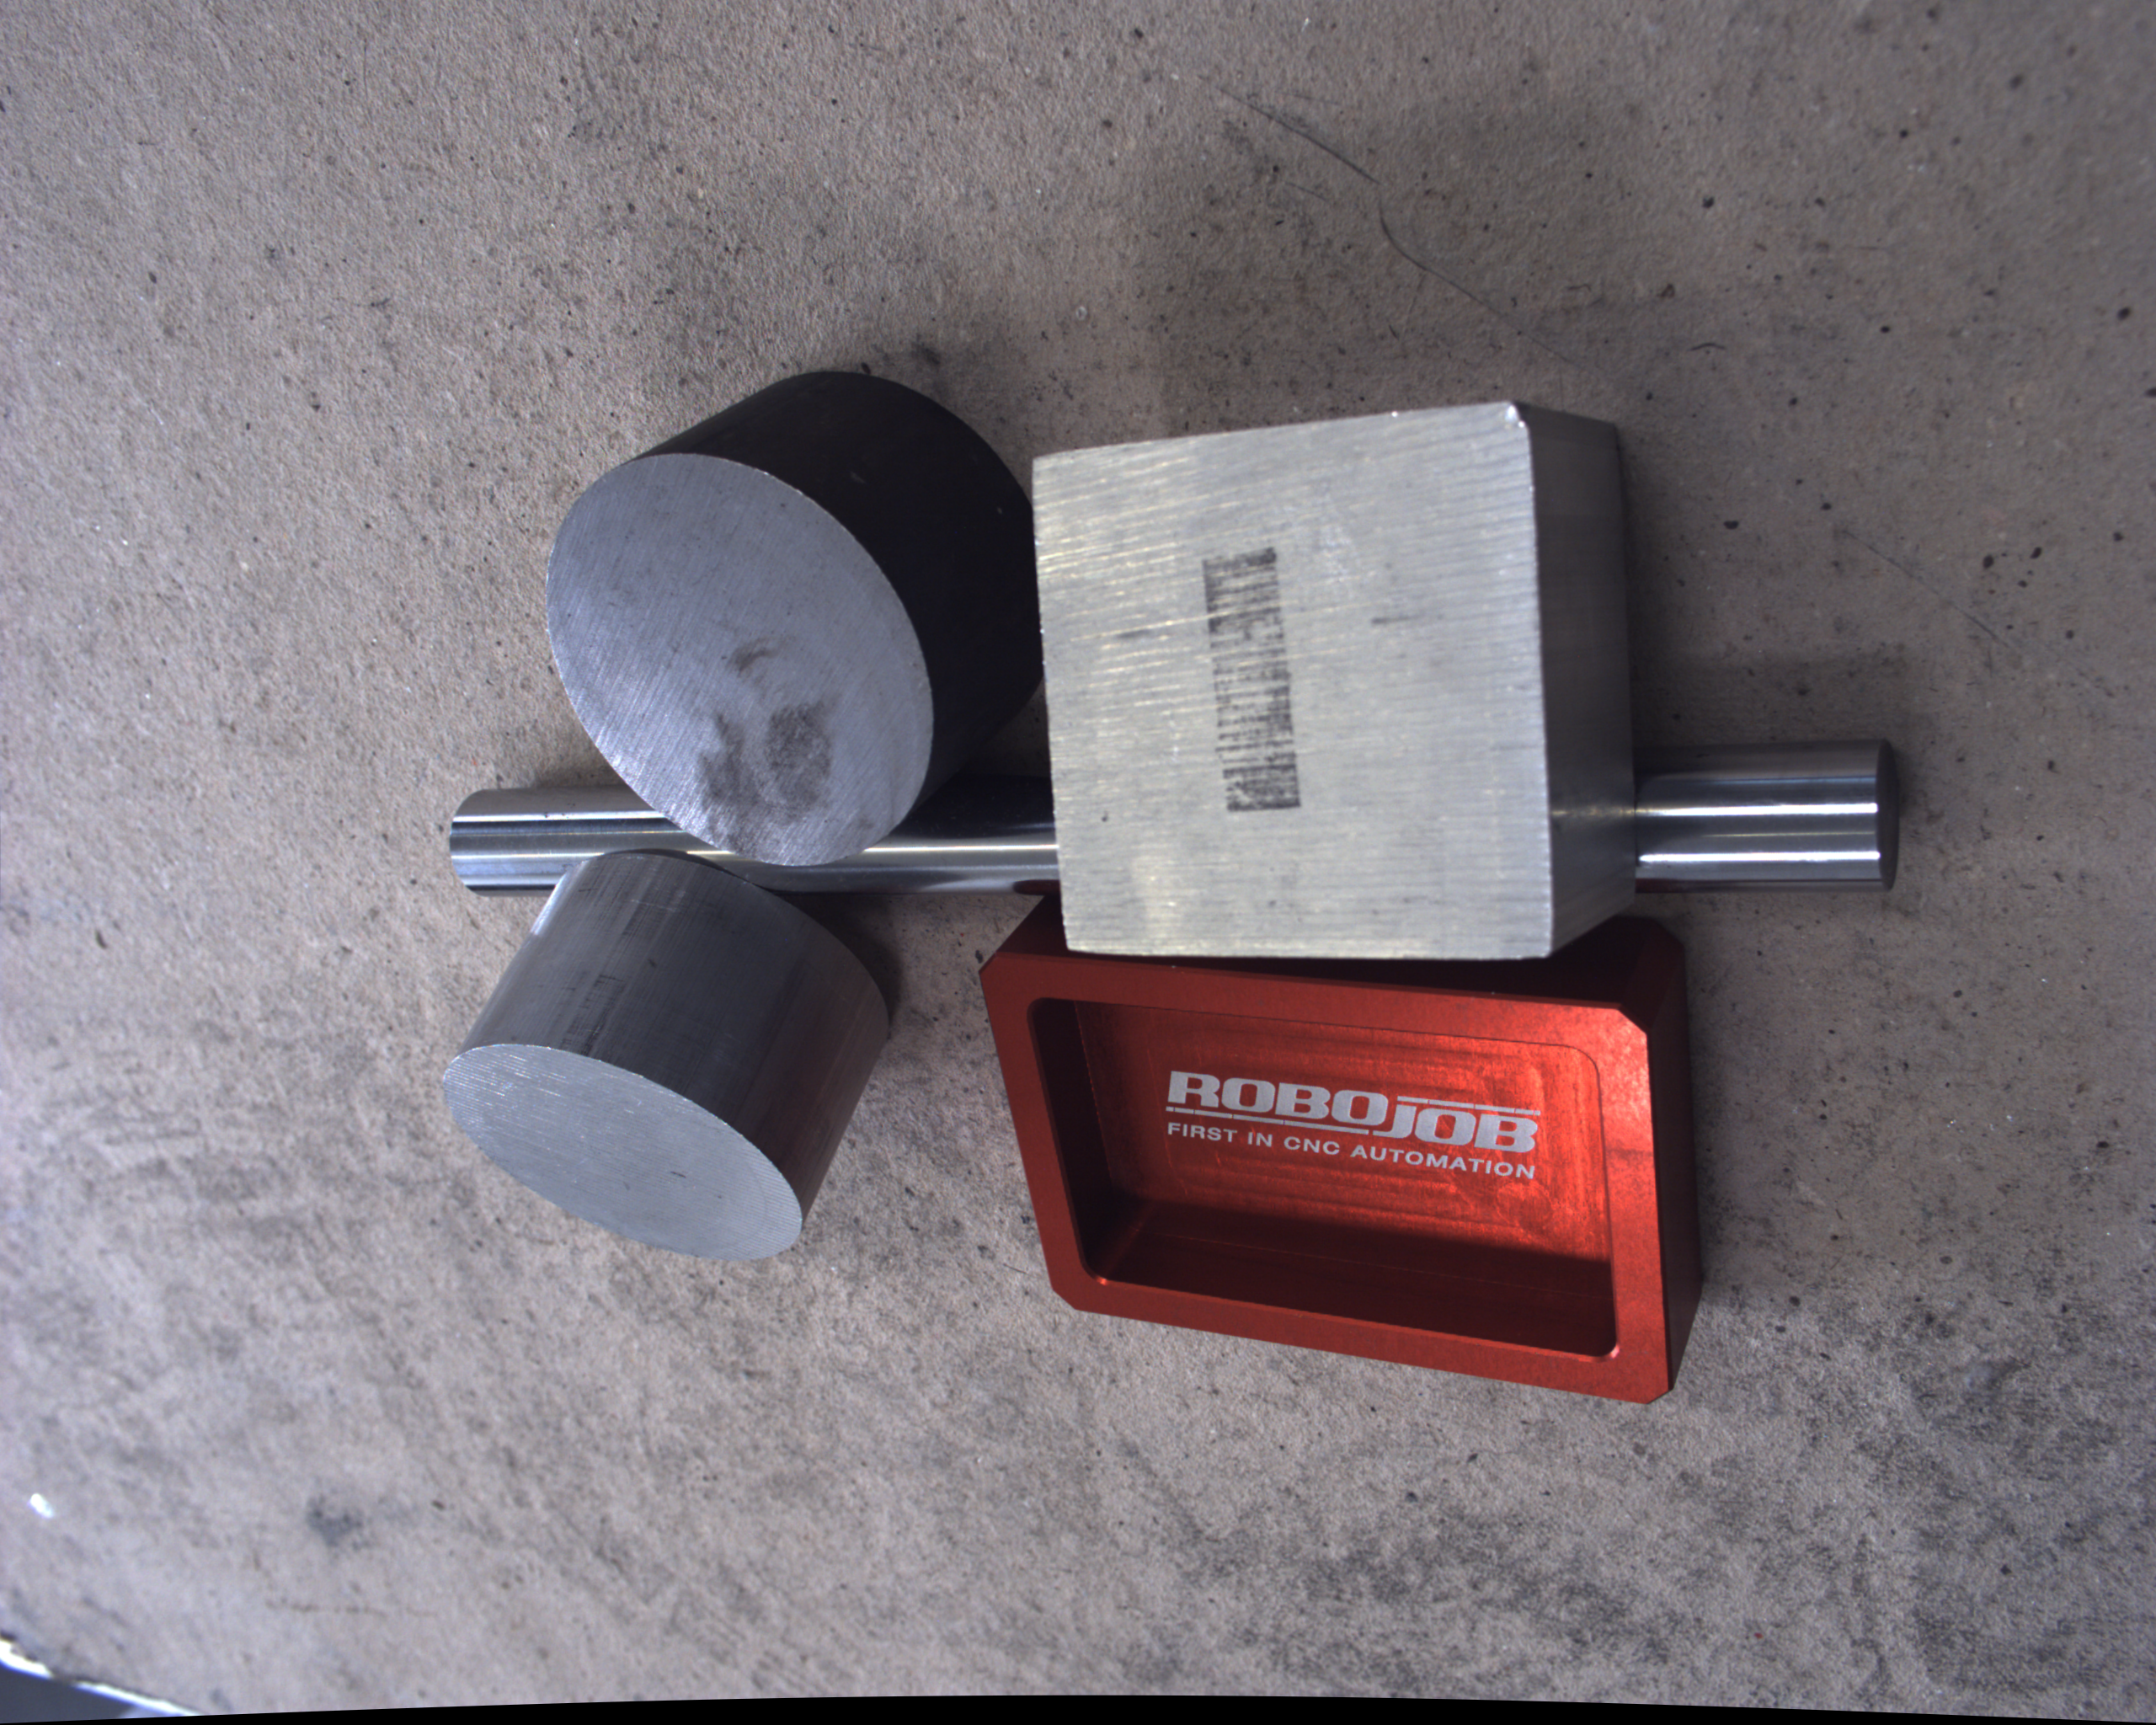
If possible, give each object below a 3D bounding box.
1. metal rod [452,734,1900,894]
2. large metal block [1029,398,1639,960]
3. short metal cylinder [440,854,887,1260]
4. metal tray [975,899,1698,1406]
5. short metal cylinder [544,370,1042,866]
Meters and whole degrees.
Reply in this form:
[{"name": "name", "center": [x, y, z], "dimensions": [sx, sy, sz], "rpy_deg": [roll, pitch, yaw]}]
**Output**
[{"name": "metal rod", "center": [-0.002, -0.007, 0.407], "dimensions": [0.300, 0.025, 0.025], "rpy_deg": [-1, 118, 28]}, {"name": "large metal block", "center": [0.042, -0.028, 0.336], "dimensions": [0.080, 0.050, 0.079], "rpy_deg": [-1, 97, 28]}, {"name": "short metal cylinder", "center": [-0.088, 0.043, 0.449], "dimensions": [0.080, 0.050, 0.080], "rpy_deg": [14, 144, 11]}, {"name": "metal tray", "center": [0.051, 0.053, 0.410], "dimensions": [0.130, 0.030, 0.089], "rpy_deg": [3, 120, 26]}, {"name": "short metal cylinder", "center": [-0.051, -0.046, 0.391], "dimensions": [0.080, 0.050, 0.079], "rpy_deg": [13, 123, 21]}]
